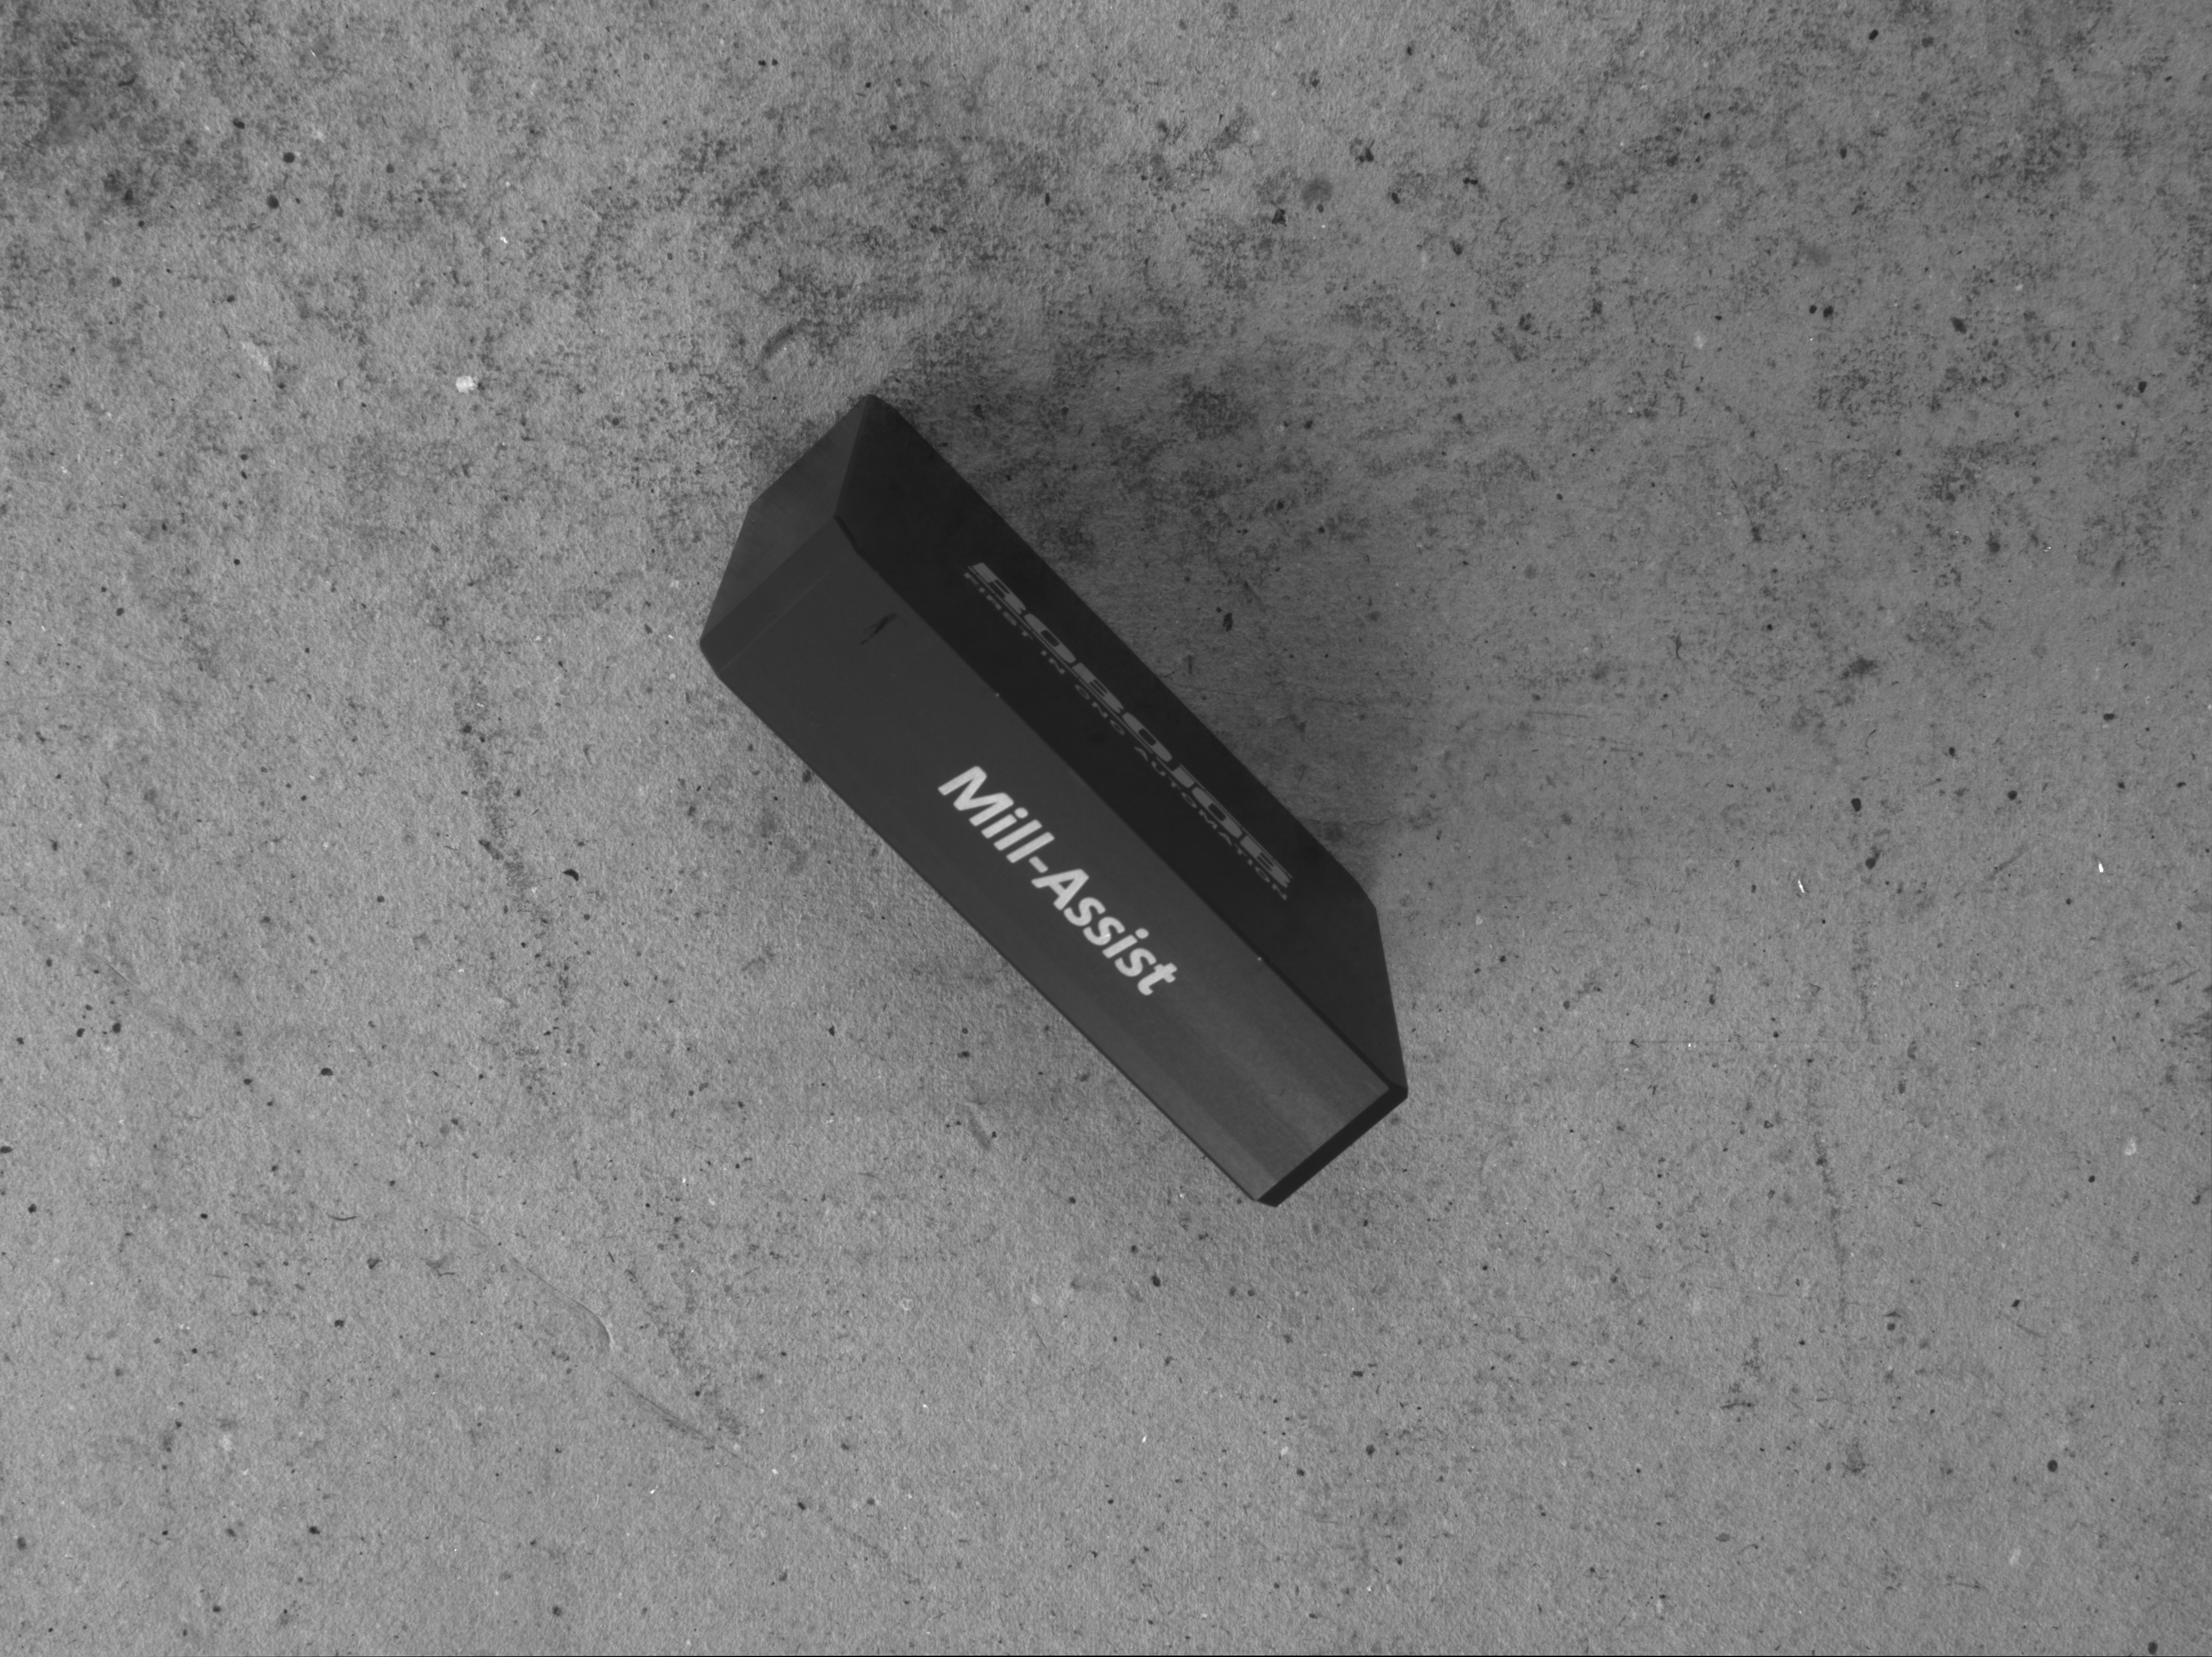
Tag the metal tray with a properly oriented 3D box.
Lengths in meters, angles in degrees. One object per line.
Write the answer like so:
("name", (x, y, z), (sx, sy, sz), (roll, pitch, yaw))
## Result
("metal tray", (-0.007, -0.006, 0.607), (0.030, 0.090, 0.130), (-41, 105, 14))
